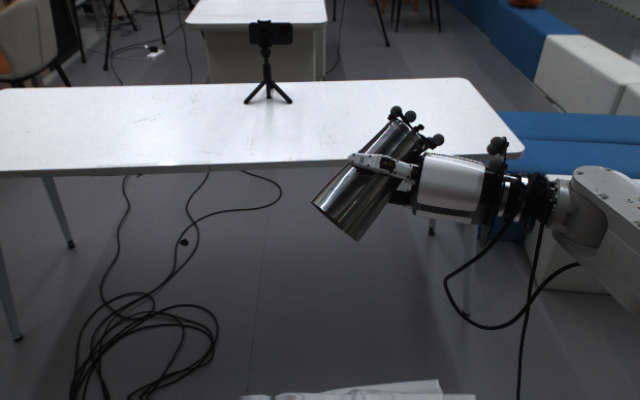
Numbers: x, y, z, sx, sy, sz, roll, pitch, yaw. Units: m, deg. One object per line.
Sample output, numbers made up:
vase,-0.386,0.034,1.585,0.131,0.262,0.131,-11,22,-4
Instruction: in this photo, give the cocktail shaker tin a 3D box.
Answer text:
cocktail shaker tin,0.075,-0.037,0.709,0.170,0.093,0.093,-48,49,-4
